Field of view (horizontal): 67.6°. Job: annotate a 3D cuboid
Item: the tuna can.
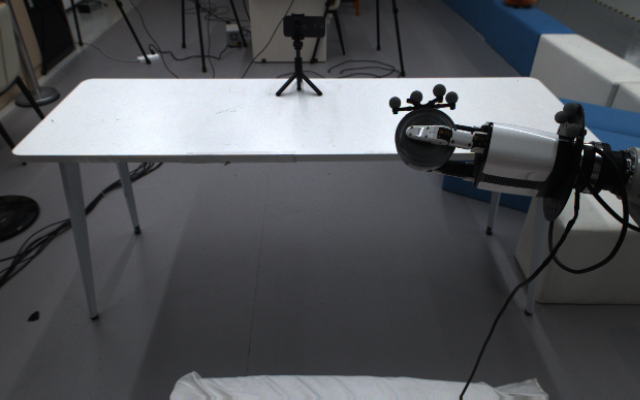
[{"bbox_3d":[0.150,-0.087,0.689,0.085,0.085,0.034,10,-6,11],"label":"tuna can"}]
